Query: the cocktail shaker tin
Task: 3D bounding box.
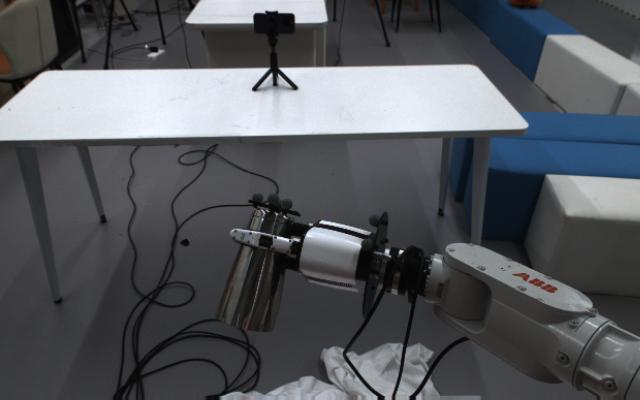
[{"bbox_3d":[-0.091,0.101,0.736,0.093,0.170,0.093,15,-5,1],"label":"cocktail shaker tin"}]
